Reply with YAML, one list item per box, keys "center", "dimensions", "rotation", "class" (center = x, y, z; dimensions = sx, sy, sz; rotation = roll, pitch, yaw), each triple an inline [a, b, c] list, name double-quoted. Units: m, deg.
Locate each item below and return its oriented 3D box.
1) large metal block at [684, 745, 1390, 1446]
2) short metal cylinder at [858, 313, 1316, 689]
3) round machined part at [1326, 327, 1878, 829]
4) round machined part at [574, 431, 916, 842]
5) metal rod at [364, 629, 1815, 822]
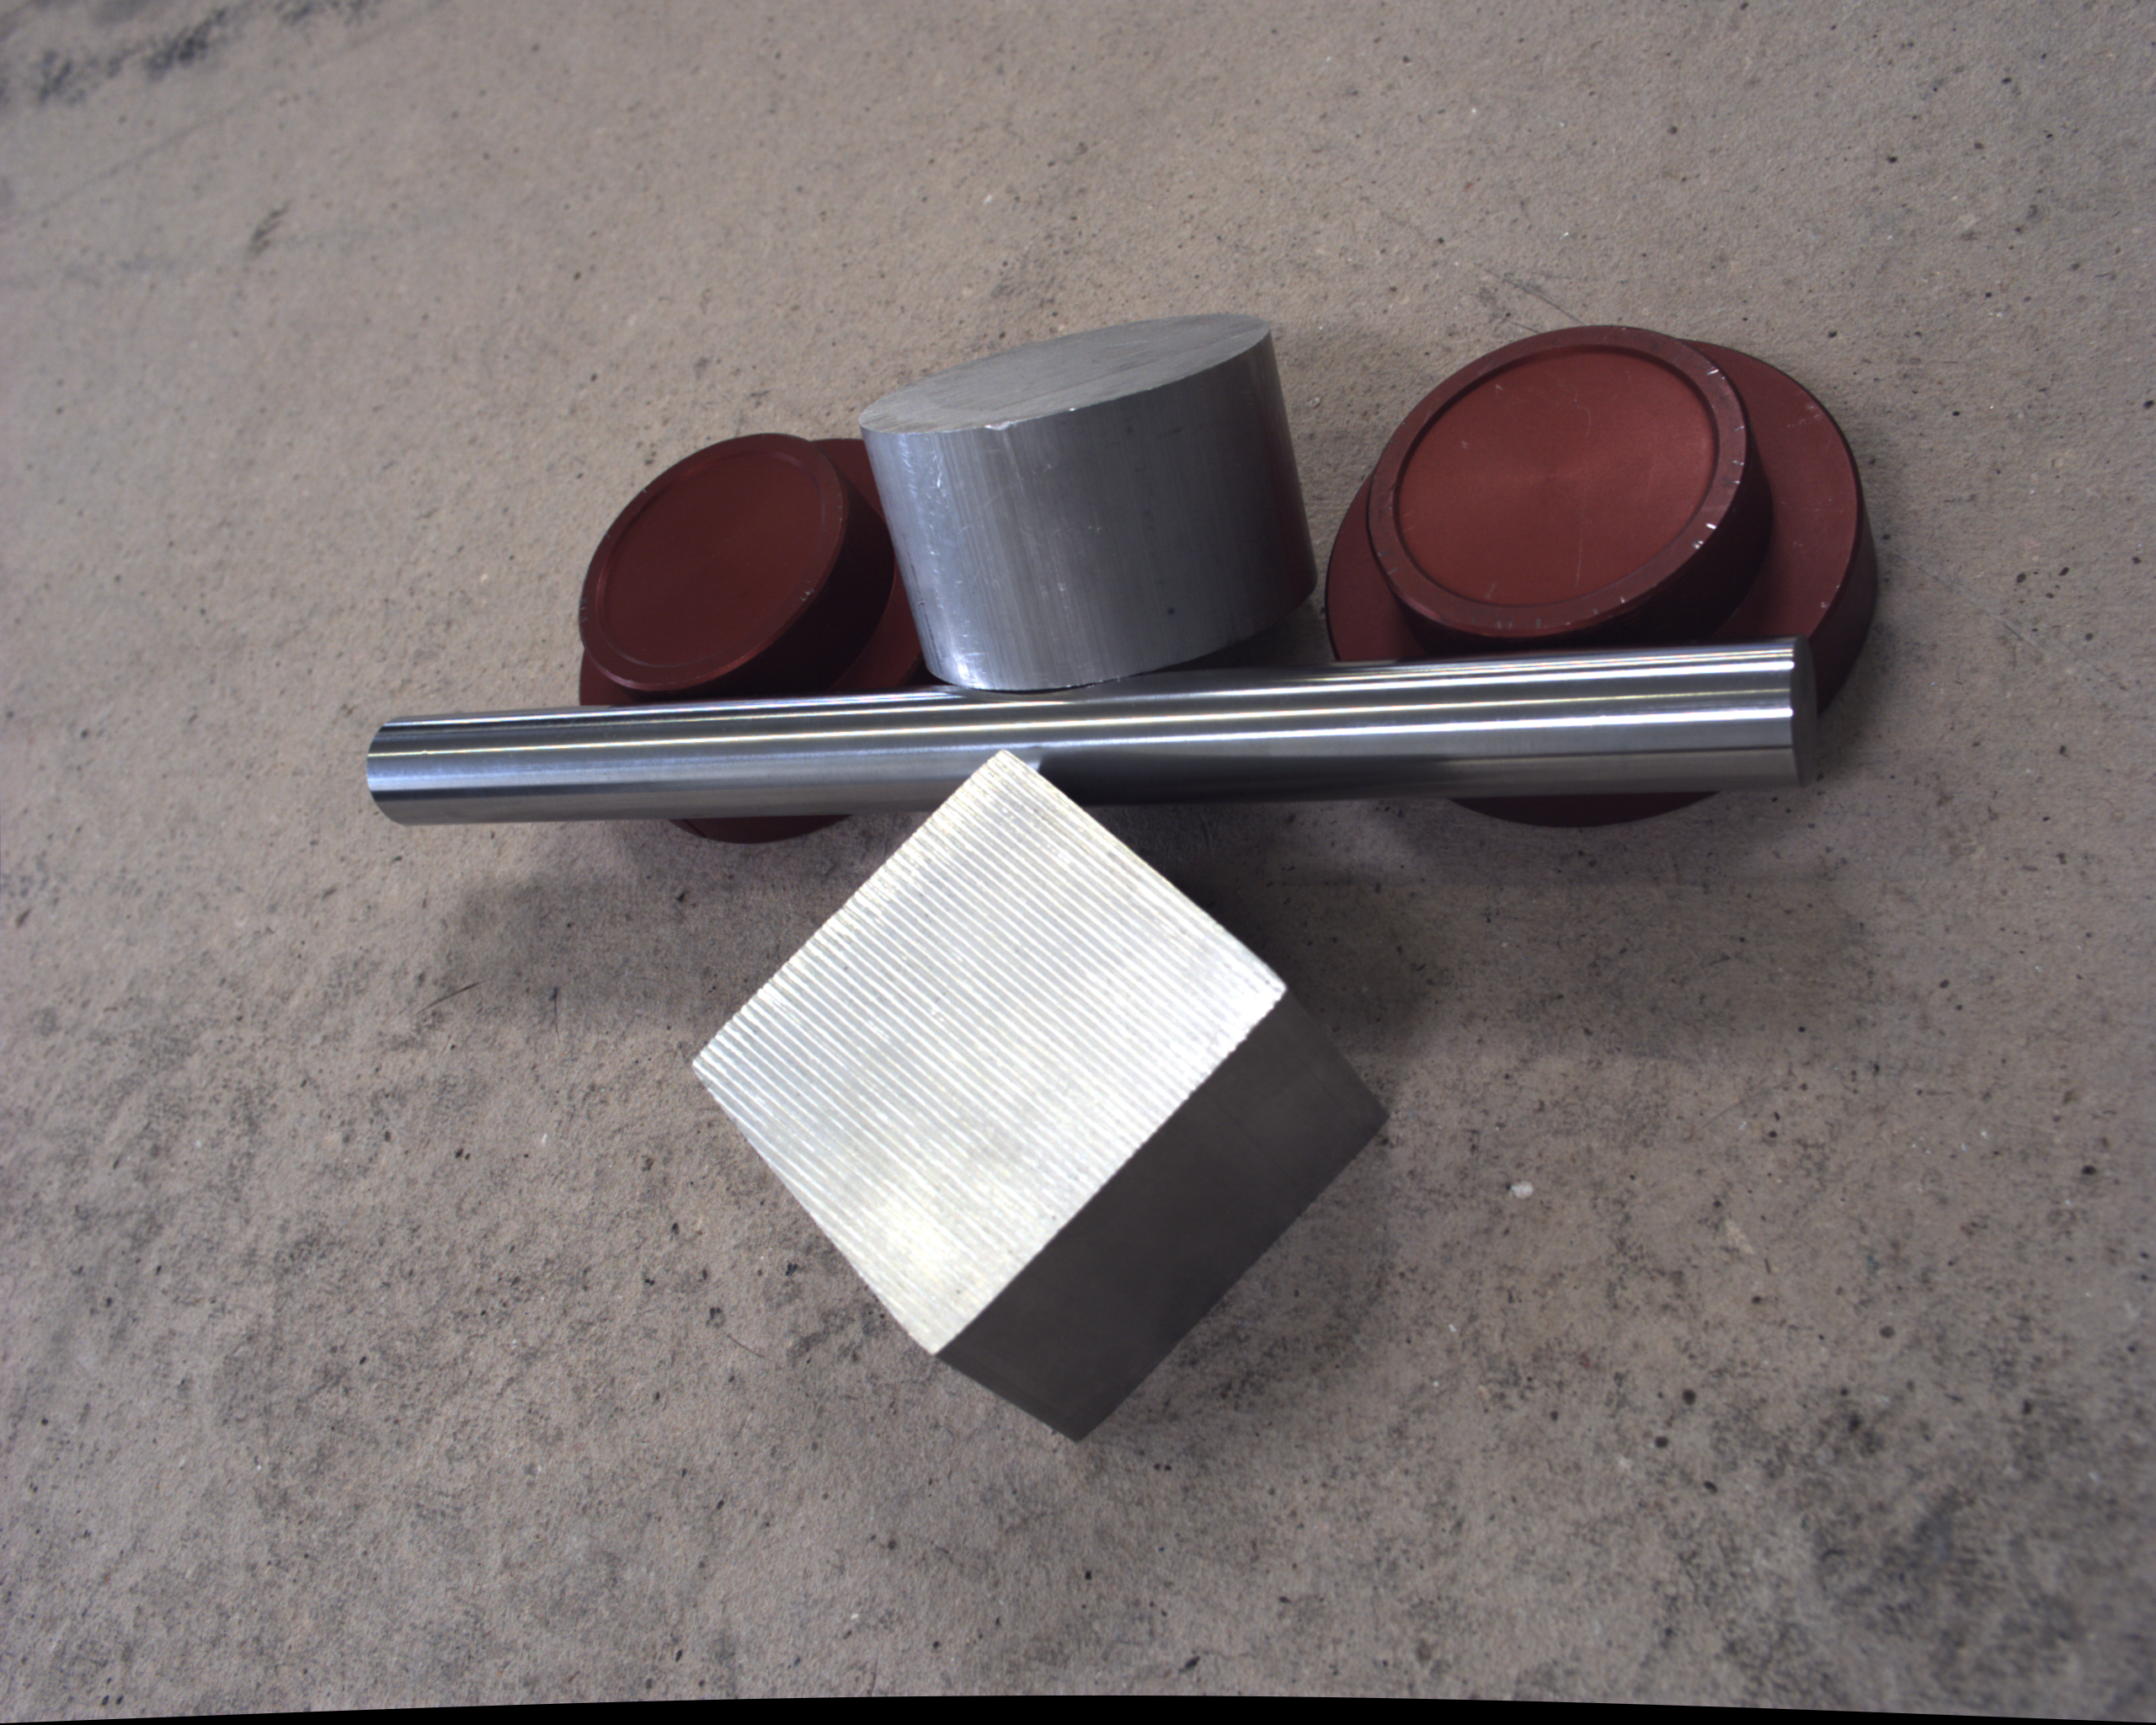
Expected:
- center: [-0.008, 0.039, 0.366]
  dimensions: [0.080, 0.050, 0.080]
  rotation: [-46, 51, -4]
  class: "large metal block"
- center: [0.003, -0.072, 0.408]
  dimensions: [0.080, 0.050, 0.080]
  rotation: [-11, 23, 5]
  class: "short metal cylinder"
- center: [0.092, -0.058, 0.382]
  dimensions: [0.098, 0.042, 0.098]
  rotation: [-13, 56, 21]
  class: "round machined part"
- center: [-0.072, -0.057, 0.466]
  dimensions: [0.098, 0.042, 0.098]
  rotation: [-13, 56, 21]
  class: "round machined part"
- center: [-0.018, -0.023, 0.401]
  dimensions: [0.300, 0.025, 0.025]
  rotation: [-1, 61, 27]
  class: "metal rod"
